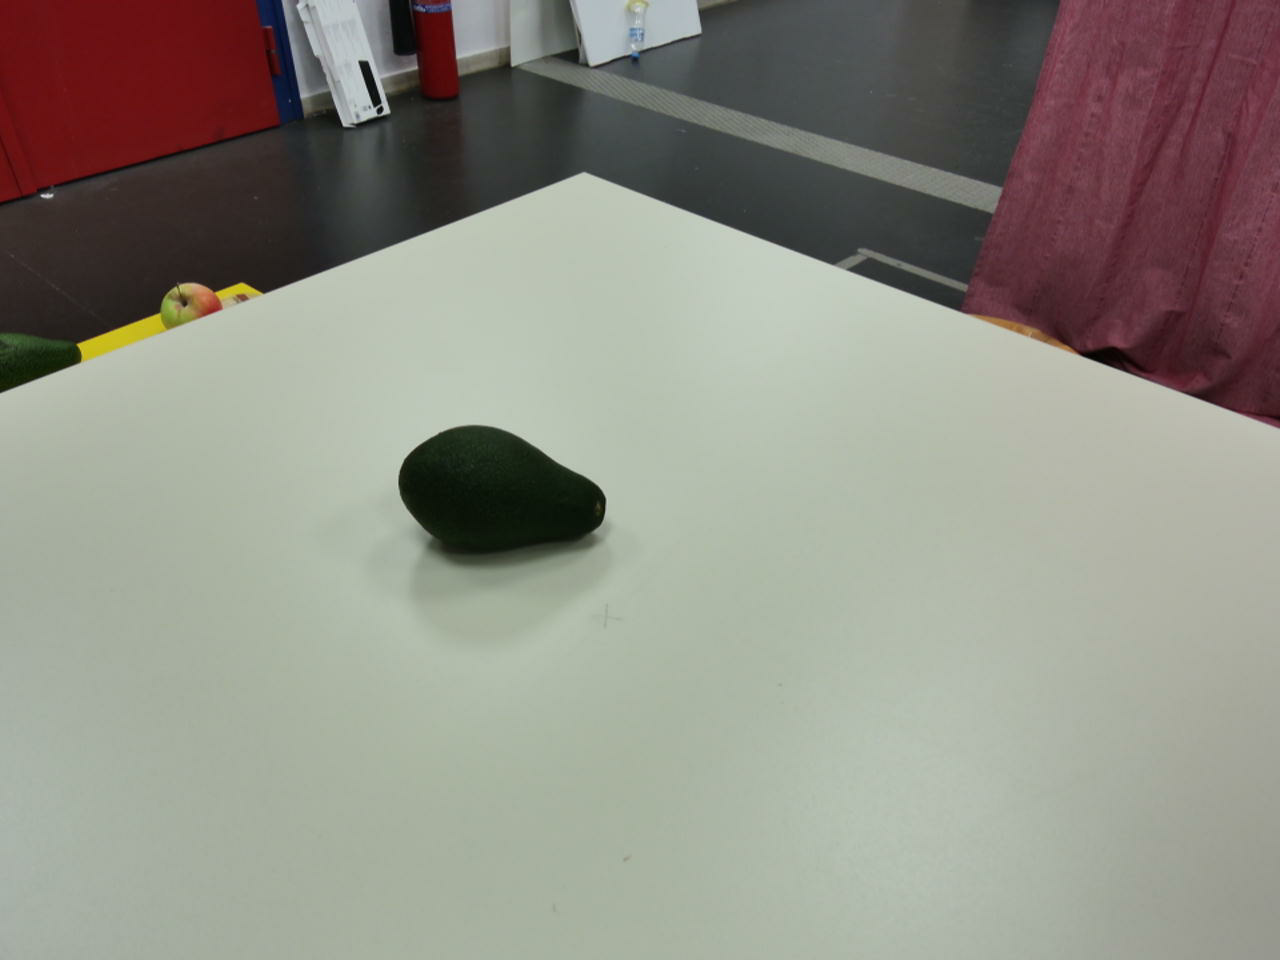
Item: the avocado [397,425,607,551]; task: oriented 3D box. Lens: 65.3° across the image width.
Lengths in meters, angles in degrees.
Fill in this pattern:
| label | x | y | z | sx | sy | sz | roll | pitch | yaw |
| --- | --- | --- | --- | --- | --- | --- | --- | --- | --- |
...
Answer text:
| label | x | y | z | sx | sy | sz | roll | pitch | yaw |
| --- | --- | --- | --- | --- | --- | --- | --- | --- | --- |
| avocado | -0.078 | 0.007 | 0.562 | 0.110 | 0.071 | 0.072 | 13 | 38 | 14 |
